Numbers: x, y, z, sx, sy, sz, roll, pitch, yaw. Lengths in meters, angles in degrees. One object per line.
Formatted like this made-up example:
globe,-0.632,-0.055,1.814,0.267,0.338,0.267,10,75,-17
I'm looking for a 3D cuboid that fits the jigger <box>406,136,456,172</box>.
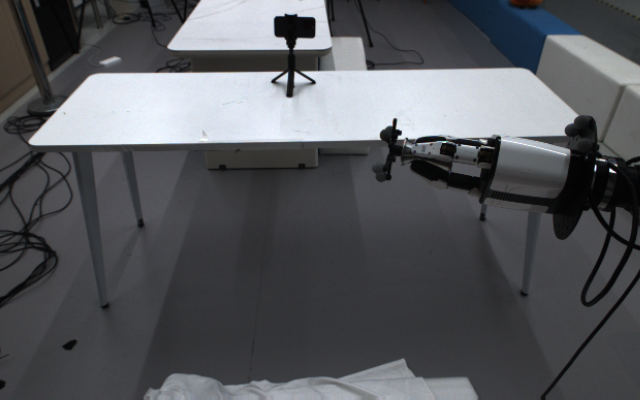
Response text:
jigger,0.155,-0.066,0.667,0.071,0.043,0.043,10,35,15
